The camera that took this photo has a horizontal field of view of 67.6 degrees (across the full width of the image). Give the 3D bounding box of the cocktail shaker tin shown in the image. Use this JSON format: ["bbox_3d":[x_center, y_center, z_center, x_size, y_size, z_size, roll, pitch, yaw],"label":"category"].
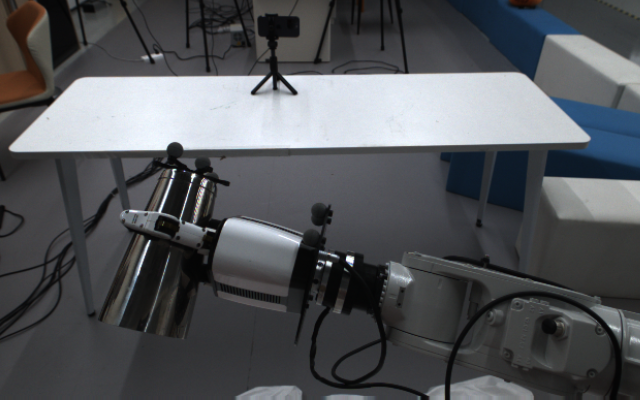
[{"bbox_3d":[-0.168,0.058,0.531,0.093,0.093,0.170,10,74,12],"label":"cocktail shaker tin"}]
